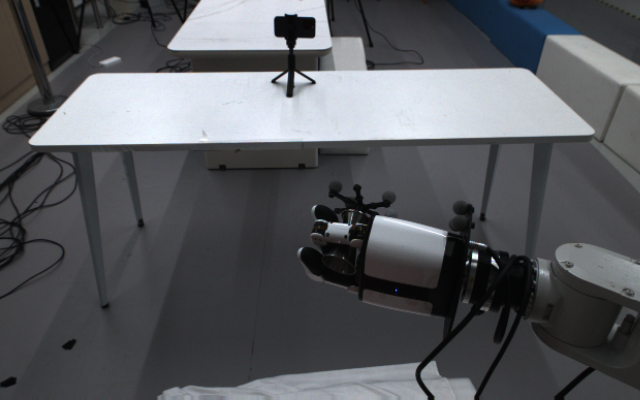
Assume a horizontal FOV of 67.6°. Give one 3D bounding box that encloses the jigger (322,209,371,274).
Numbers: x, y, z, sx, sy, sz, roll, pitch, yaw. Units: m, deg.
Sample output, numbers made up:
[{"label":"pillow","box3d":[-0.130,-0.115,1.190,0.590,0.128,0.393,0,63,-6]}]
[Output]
[{"label":"jigger","box3d":[0.037,0.050,0.582,0.043,0.043,0.071,13,58,16]}]
